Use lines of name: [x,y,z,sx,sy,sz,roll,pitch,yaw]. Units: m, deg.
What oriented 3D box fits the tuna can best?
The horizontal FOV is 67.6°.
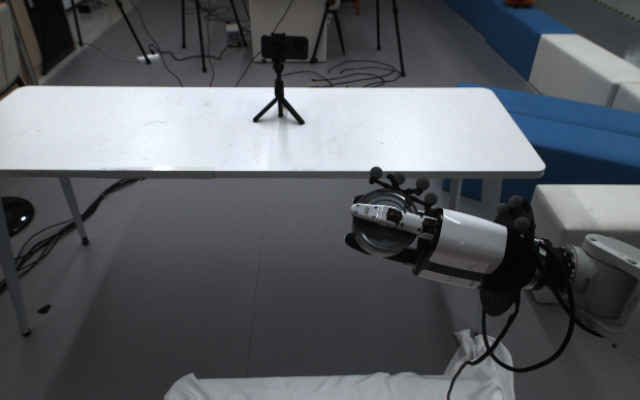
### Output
tuna can: [0.086,0.028,0.630,0.085,0.034,0.085,0,72,0]
